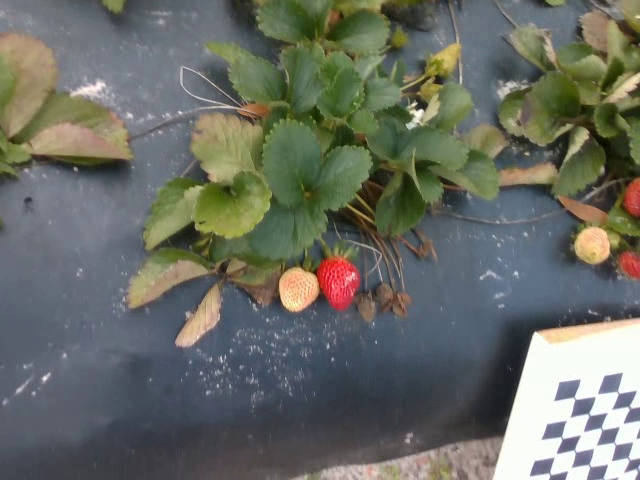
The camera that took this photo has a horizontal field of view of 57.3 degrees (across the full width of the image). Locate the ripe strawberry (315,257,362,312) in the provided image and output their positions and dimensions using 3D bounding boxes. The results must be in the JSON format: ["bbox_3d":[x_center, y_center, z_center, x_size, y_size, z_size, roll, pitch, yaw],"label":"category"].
[{"bbox_3d":[0.012,0.031,0.387,0.034,0.042,0.033,28,-46,-26],"label":"ripe strawberry"}]
